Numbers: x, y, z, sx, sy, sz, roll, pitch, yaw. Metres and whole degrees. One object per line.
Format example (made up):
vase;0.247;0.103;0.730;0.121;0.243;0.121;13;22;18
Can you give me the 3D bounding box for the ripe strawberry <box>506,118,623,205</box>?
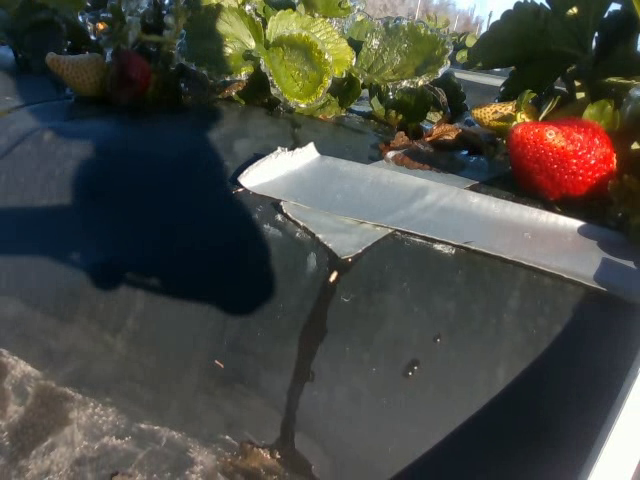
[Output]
ripe strawberry;0.123;-0.045;0.323;0.065;0.062;0.058;17;-53;-44
